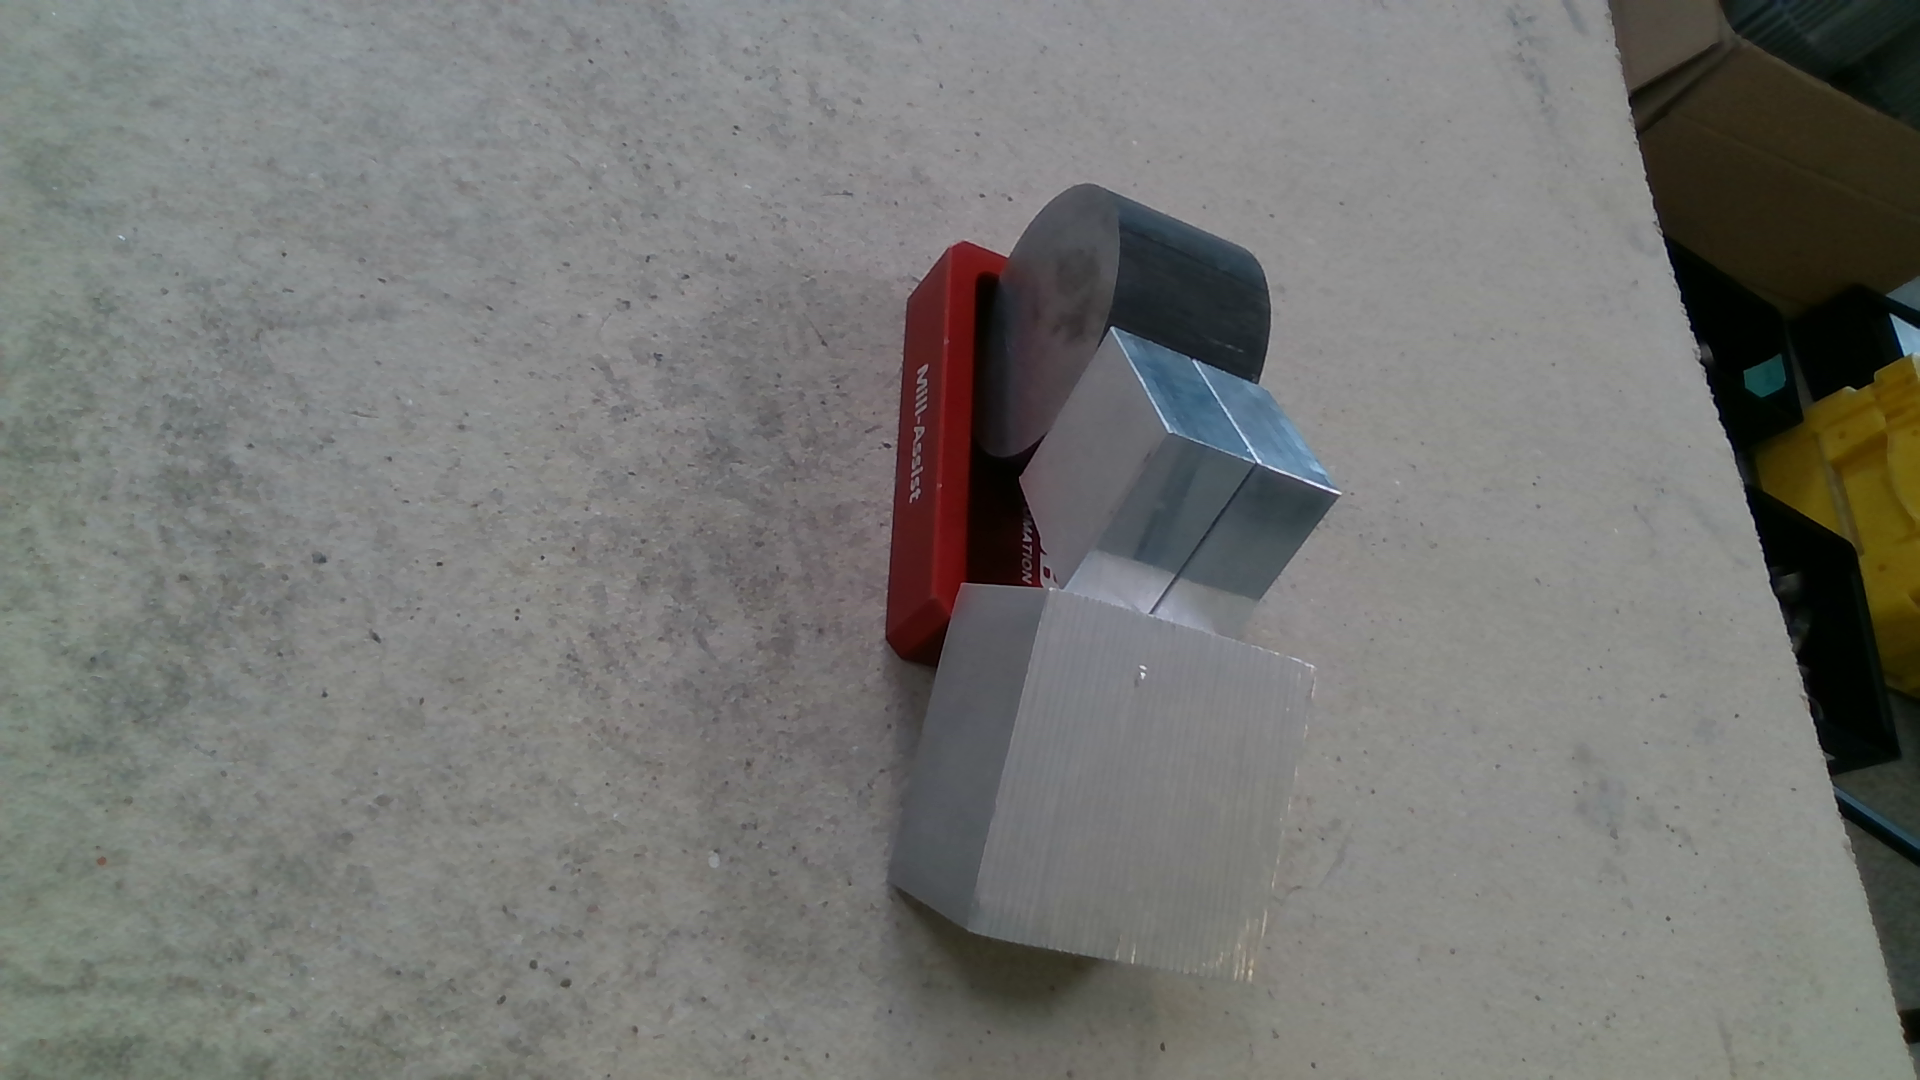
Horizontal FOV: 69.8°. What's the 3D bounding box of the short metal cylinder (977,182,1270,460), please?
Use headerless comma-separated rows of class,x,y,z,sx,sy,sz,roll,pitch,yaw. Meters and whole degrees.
short metal cylinder,0.044,-0.056,0.398,0.050,0.080,0.080,15,58,-24

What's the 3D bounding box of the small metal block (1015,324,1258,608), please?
small metal block,0.042,-0.017,0.344,0.025,0.050,0.050,17,31,-25

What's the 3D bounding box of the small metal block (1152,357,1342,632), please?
small metal block,0.064,-0.010,0.355,0.025,0.050,0.050,17,31,-25

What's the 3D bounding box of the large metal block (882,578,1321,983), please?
large metal block,0.035,0.059,0.349,0.080,0.050,0.080,17,84,-23

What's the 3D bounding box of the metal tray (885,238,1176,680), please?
metal tray,0.027,-0.020,0.417,0.090,0.030,0.130,16,58,-24
